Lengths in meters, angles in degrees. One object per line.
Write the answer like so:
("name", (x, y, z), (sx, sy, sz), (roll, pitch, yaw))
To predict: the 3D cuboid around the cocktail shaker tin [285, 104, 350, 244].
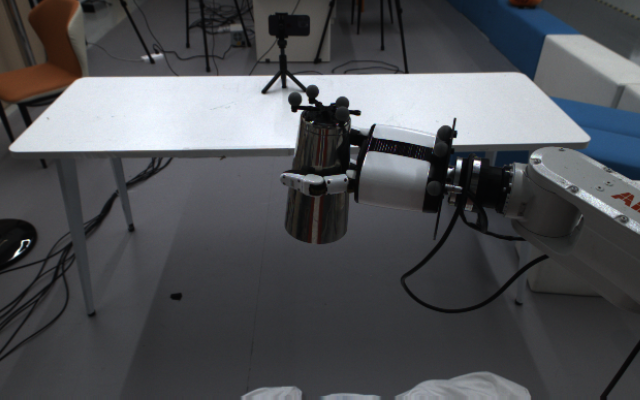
("cocktail shaker tin", (0.001, -0.036, 0.661), (0.093, 0.170, 0.093), (4, 32, -2))
